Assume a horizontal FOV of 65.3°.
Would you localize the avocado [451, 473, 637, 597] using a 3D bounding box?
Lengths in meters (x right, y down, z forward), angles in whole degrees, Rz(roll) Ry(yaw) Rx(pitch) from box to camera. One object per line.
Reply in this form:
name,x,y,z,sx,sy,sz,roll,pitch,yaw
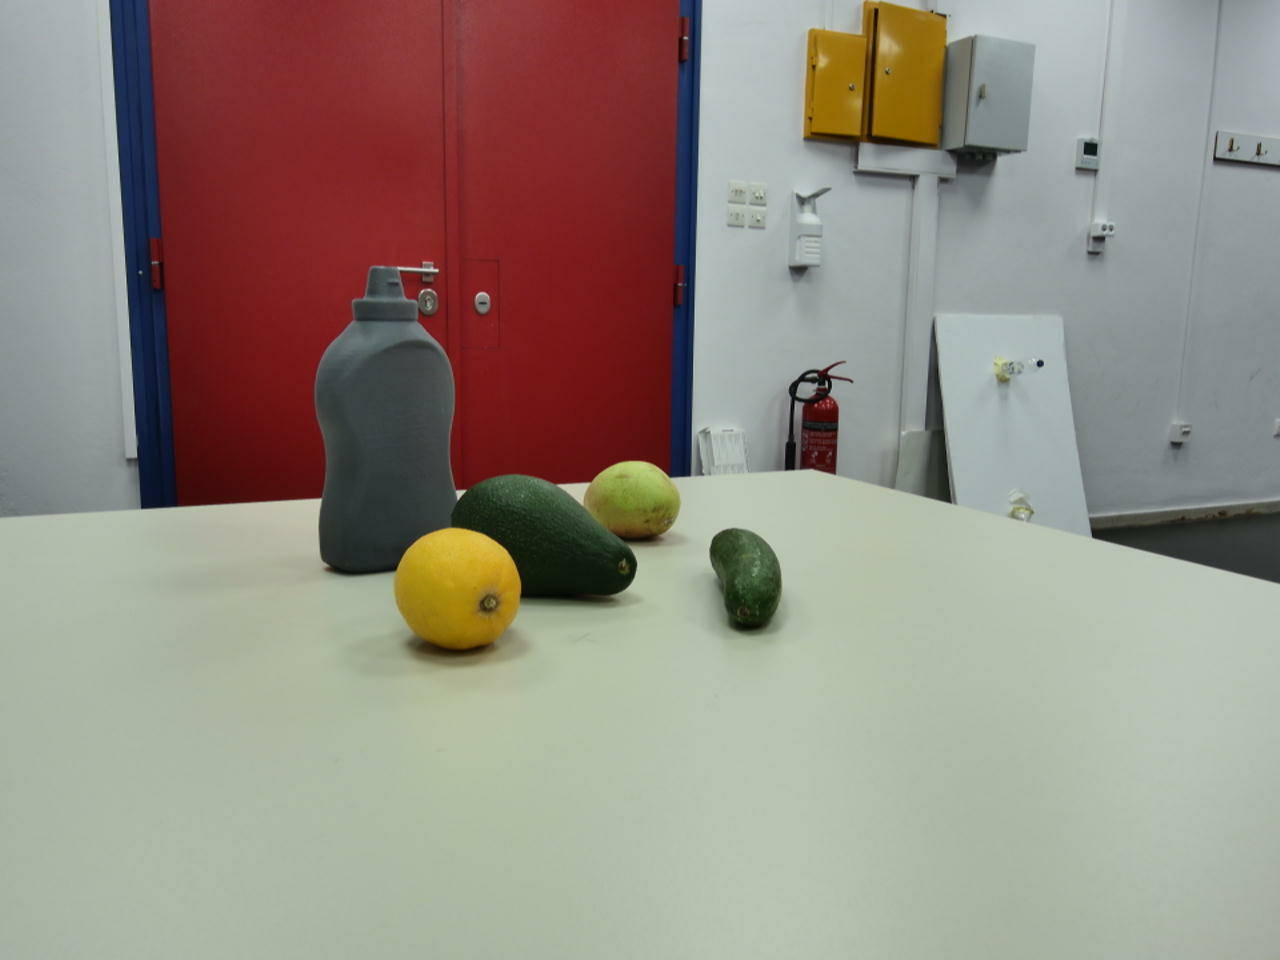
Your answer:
avocado,-0.060,0.033,0.587,0.110,0.071,0.072,7,10,42
